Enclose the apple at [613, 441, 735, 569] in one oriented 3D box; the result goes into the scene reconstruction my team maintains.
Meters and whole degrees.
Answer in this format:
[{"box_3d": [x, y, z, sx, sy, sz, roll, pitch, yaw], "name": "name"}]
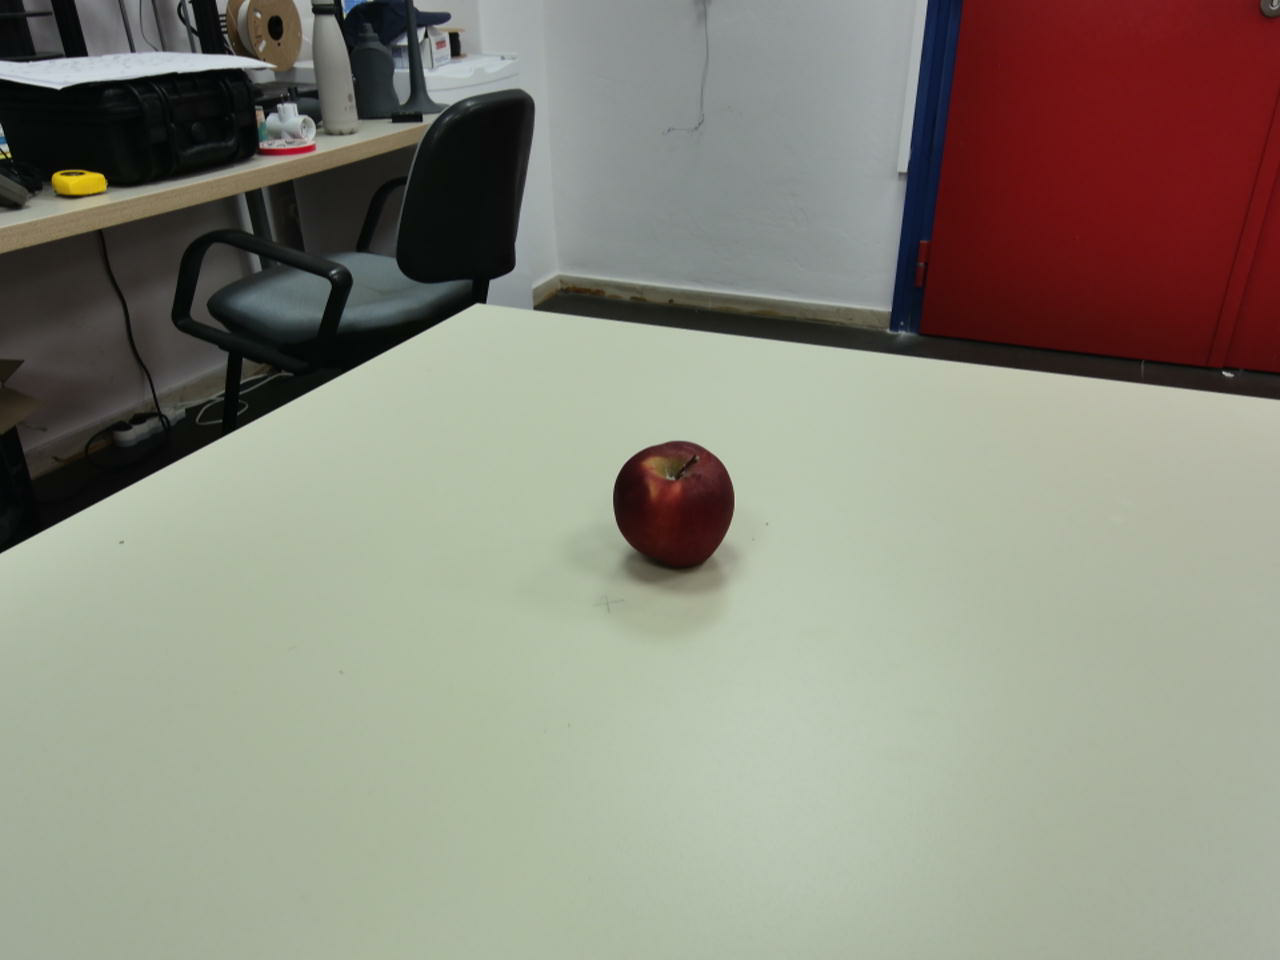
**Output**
[{"box_3d": [0.020, 0.014, 0.567, 0.070, 0.072, 0.070, 1, 26, 0], "name": "apple"}]
